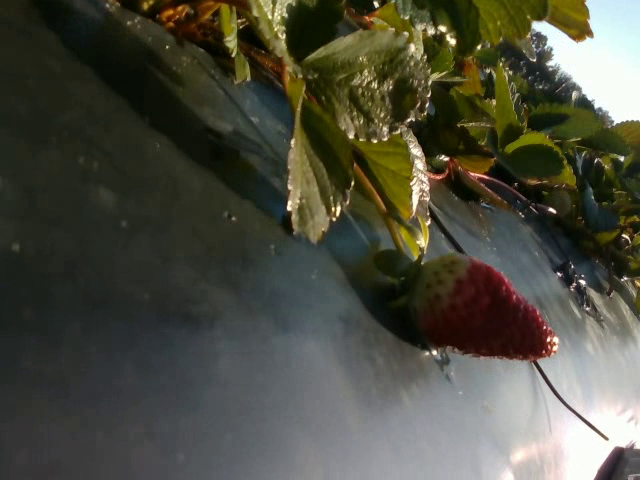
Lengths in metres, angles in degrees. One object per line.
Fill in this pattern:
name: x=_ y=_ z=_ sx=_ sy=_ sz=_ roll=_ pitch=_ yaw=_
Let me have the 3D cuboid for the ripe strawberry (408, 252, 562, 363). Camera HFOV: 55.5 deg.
ripe strawberry: x=0.041 y=0.019 z=0.147 sx=0.041 sy=0.031 sz=0.028 roll=24 pitch=37 yaw=17
